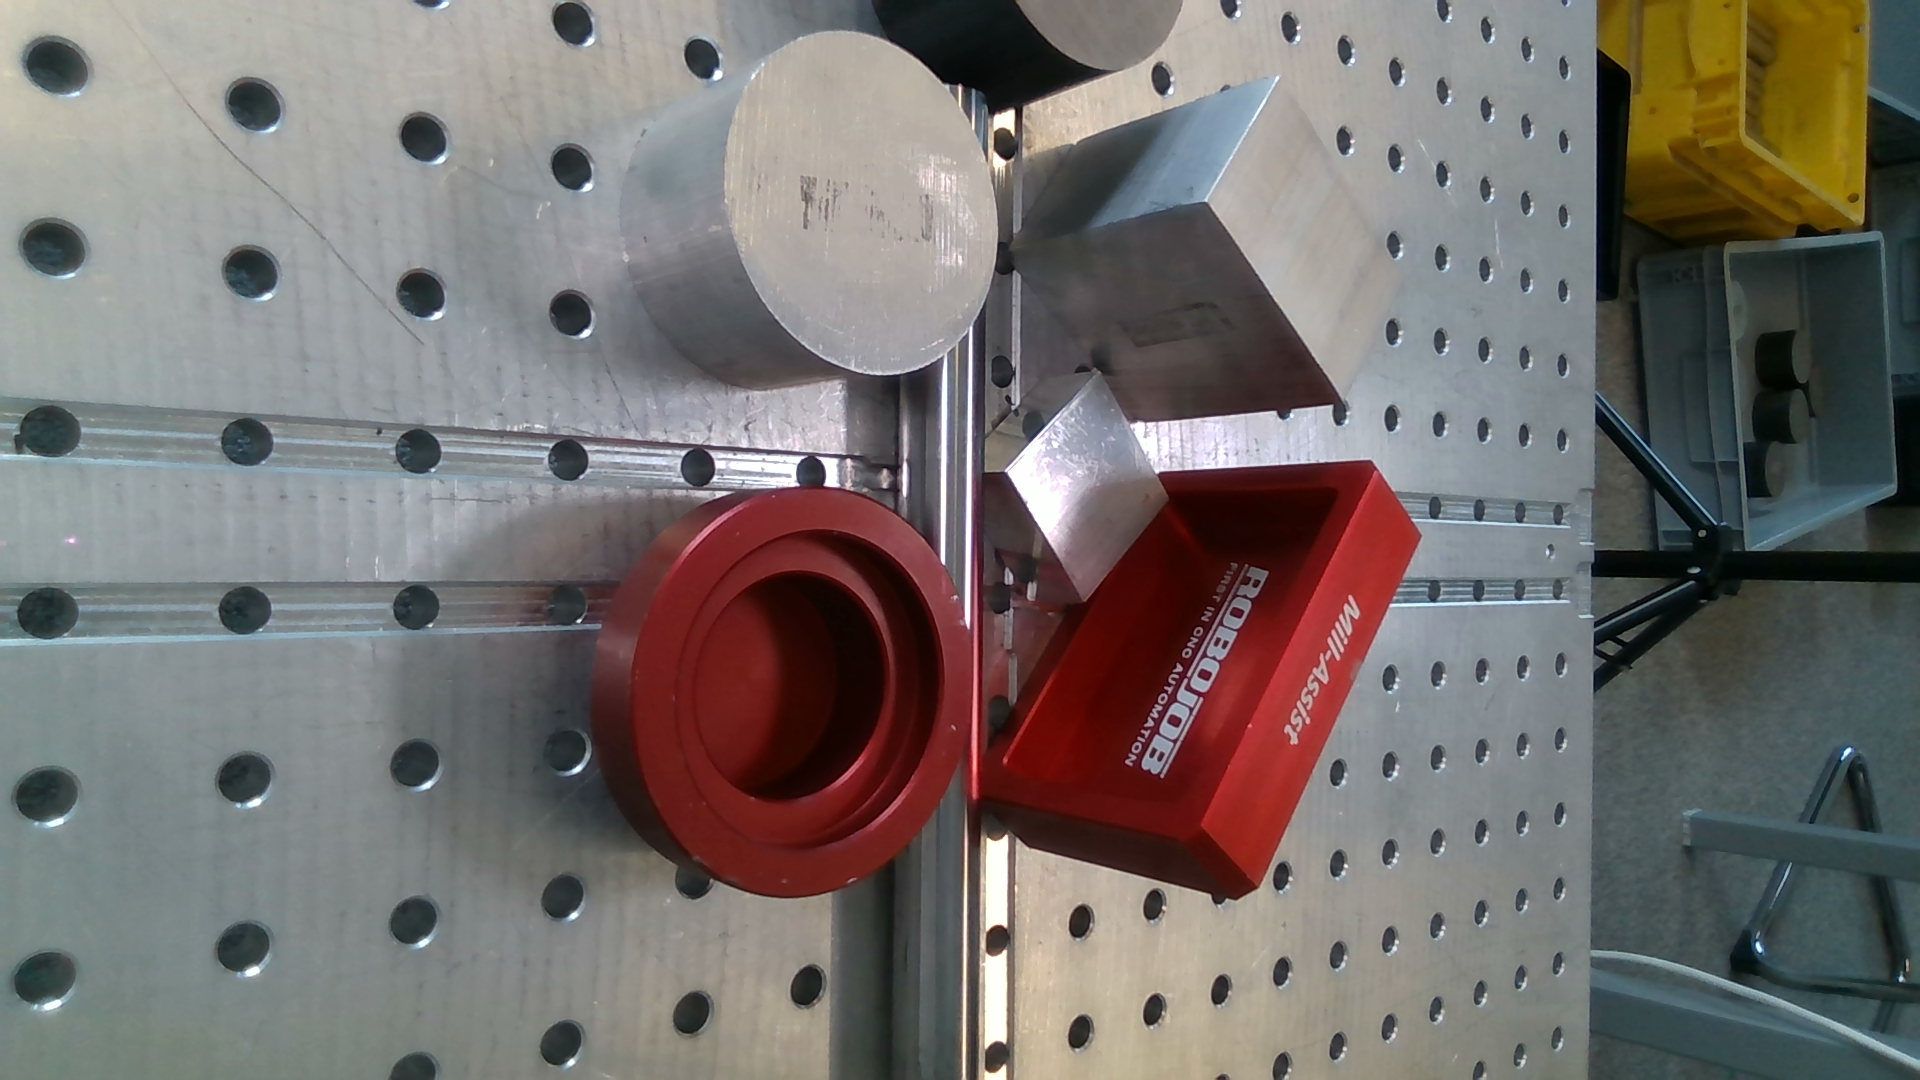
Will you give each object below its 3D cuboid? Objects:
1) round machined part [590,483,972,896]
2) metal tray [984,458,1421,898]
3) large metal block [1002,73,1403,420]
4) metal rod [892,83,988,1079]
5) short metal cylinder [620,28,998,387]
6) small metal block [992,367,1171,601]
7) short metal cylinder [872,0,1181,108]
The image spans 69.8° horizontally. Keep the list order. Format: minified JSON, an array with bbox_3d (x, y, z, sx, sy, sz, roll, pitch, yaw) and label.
[{"bbox_3d":[-0.047,0.035,0.344,0.098,0.042,0.098,0,90,-40],"label":"round machined part"},{"bbox_3d":[0.070,0.035,0.410,0.030,0.090,0.130,48,61,-29],"label":"metal tray"},{"bbox_3d":[0.074,-0.085,0.421,0.080,0.080,0.050,46,63,-30],"label":"large metal block"},{"bbox_3d":[-0.006,0.024,0.389,0.025,0.025,0.300,1,90,-40],"label":"metal rod"},{"bbox_3d":[-0.037,-0.080,0.346,0.080,0.050,0.080,0,90,-40],"label":"short metal cylinder"},{"bbox_3d":[0.032,-0.017,0.421,0.050,0.025,0.050,-47,118,-30],"label":"small metal block"},{"bbox_3d":[0.019,-0.169,0.393,0.080,0.050,0.080,0,90,-40],"label":"short metal cylinder"}]
